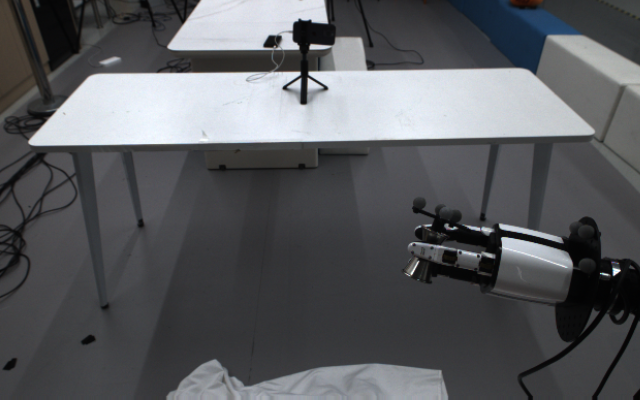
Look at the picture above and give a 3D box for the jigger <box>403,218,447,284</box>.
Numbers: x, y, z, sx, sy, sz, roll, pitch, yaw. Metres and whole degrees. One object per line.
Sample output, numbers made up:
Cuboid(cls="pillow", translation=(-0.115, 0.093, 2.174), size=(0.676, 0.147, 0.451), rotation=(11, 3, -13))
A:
Cuboid(cls="jigger", translation=(0.141, 0.071, 0.648), size=(0.043, 0.071, 0.043), rotation=(22, 5, -2))
